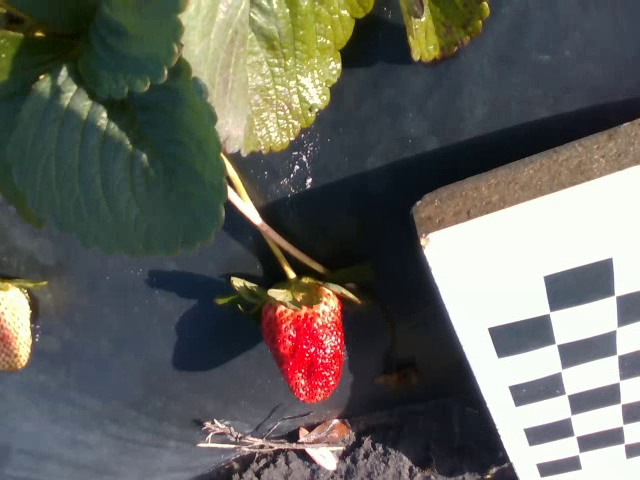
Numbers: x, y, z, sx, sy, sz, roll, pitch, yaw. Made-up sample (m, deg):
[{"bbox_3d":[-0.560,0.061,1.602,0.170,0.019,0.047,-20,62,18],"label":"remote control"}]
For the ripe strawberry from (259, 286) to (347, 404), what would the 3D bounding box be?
[{"bbox_3d":[-0.003,0.015,0.093,0.016,0.022,0.015,-13,-5,7],"label":"ripe strawberry"}]
